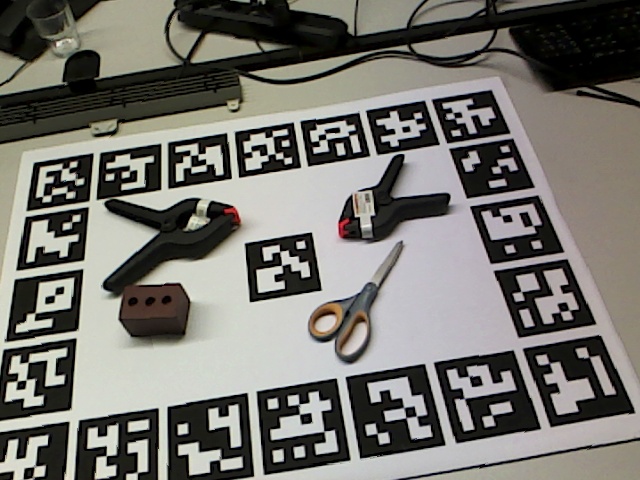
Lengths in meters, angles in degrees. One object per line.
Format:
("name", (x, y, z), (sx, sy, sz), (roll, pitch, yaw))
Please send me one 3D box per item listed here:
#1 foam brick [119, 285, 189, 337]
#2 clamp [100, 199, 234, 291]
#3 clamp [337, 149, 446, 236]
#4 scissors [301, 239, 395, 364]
("foam brick", (-0.228, 0.099, 0.855), (0.078, 0.051, 0.053), (-5, 58, 8))
("clamp", (-0.231, -0.014, 0.935), (0.202, 0.036, 0.166), (-13, 53, -3))
("clamp", (0.092, -0.059, 0.935), (0.165, 0.036, 0.122), (-34, 67, -15))
("scissors", (0.052, 0.073, 0.856), (0.088, 0.016, 0.202), (28, 62, 13))
